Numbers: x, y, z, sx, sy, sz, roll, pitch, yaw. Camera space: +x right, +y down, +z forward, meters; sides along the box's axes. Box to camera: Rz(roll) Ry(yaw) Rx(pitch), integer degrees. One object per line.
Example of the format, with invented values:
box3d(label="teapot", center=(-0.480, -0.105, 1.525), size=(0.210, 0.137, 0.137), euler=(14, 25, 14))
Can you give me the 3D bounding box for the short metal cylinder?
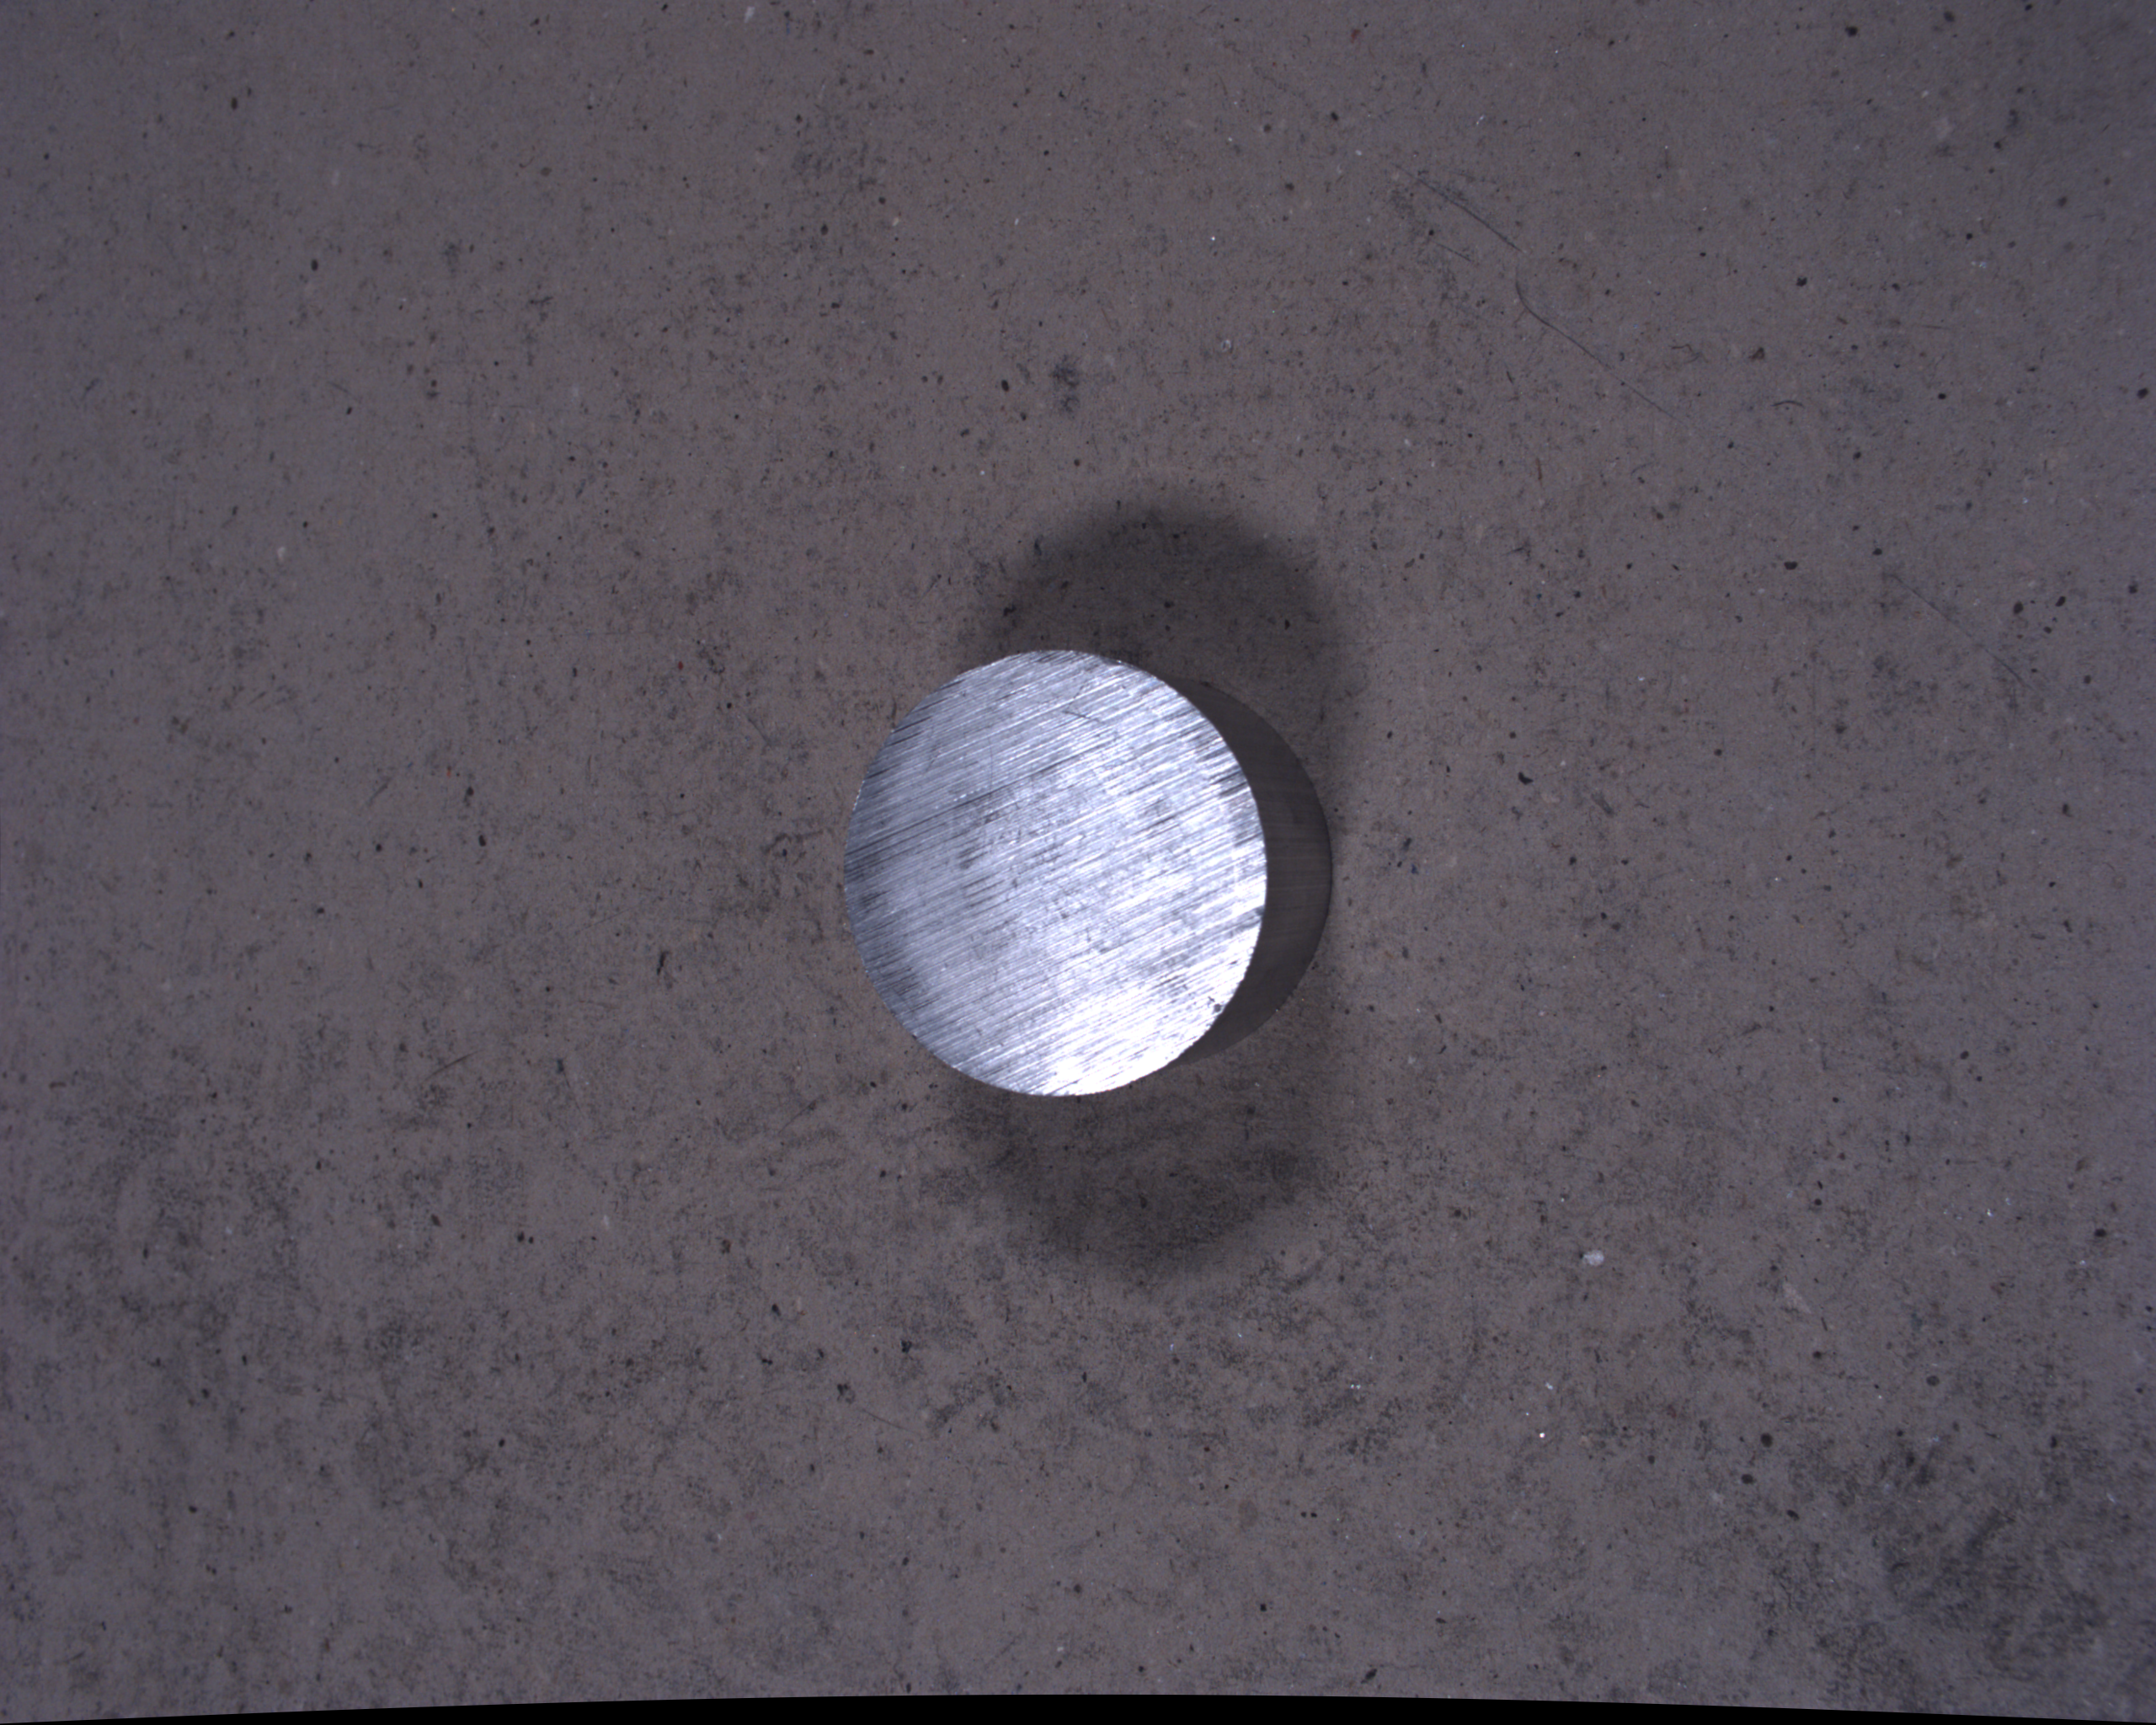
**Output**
box3d(label="short metal cylinder", center=(0.004, 0.002, 0.395), size=(0.080, 0.050, 0.079), euler=(0, 90, 19))
